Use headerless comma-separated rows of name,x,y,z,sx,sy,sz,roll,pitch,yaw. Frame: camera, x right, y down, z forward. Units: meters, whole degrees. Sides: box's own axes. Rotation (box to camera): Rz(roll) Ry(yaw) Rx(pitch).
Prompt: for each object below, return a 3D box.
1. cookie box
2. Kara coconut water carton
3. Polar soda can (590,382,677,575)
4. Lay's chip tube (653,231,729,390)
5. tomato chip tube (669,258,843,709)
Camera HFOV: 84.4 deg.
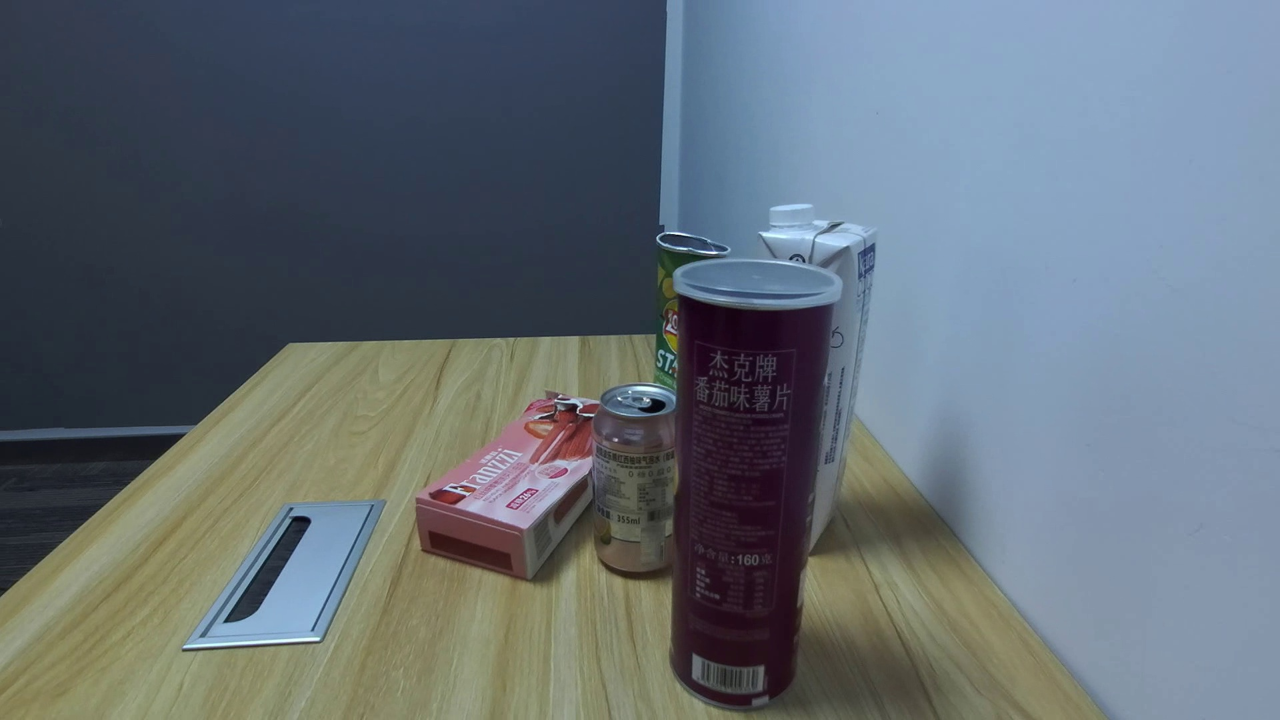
cookie box,-0.083,0.091,0.575,0.104,0.059,0.186,5,23,22
Kara coconut water carton,0.118,0.013,0.513,0.075,0.245,0.077,14,26,29
Polar soda can,0.002,0.084,0.501,0.067,0.125,0.067,-3,20,1
Lay's chip tube,0.032,-0.008,0.633,0.068,0.199,0.075,23,26,31
tomato chip tube,0.056,0.070,0.378,0.078,0.234,0.078,0,22,0
